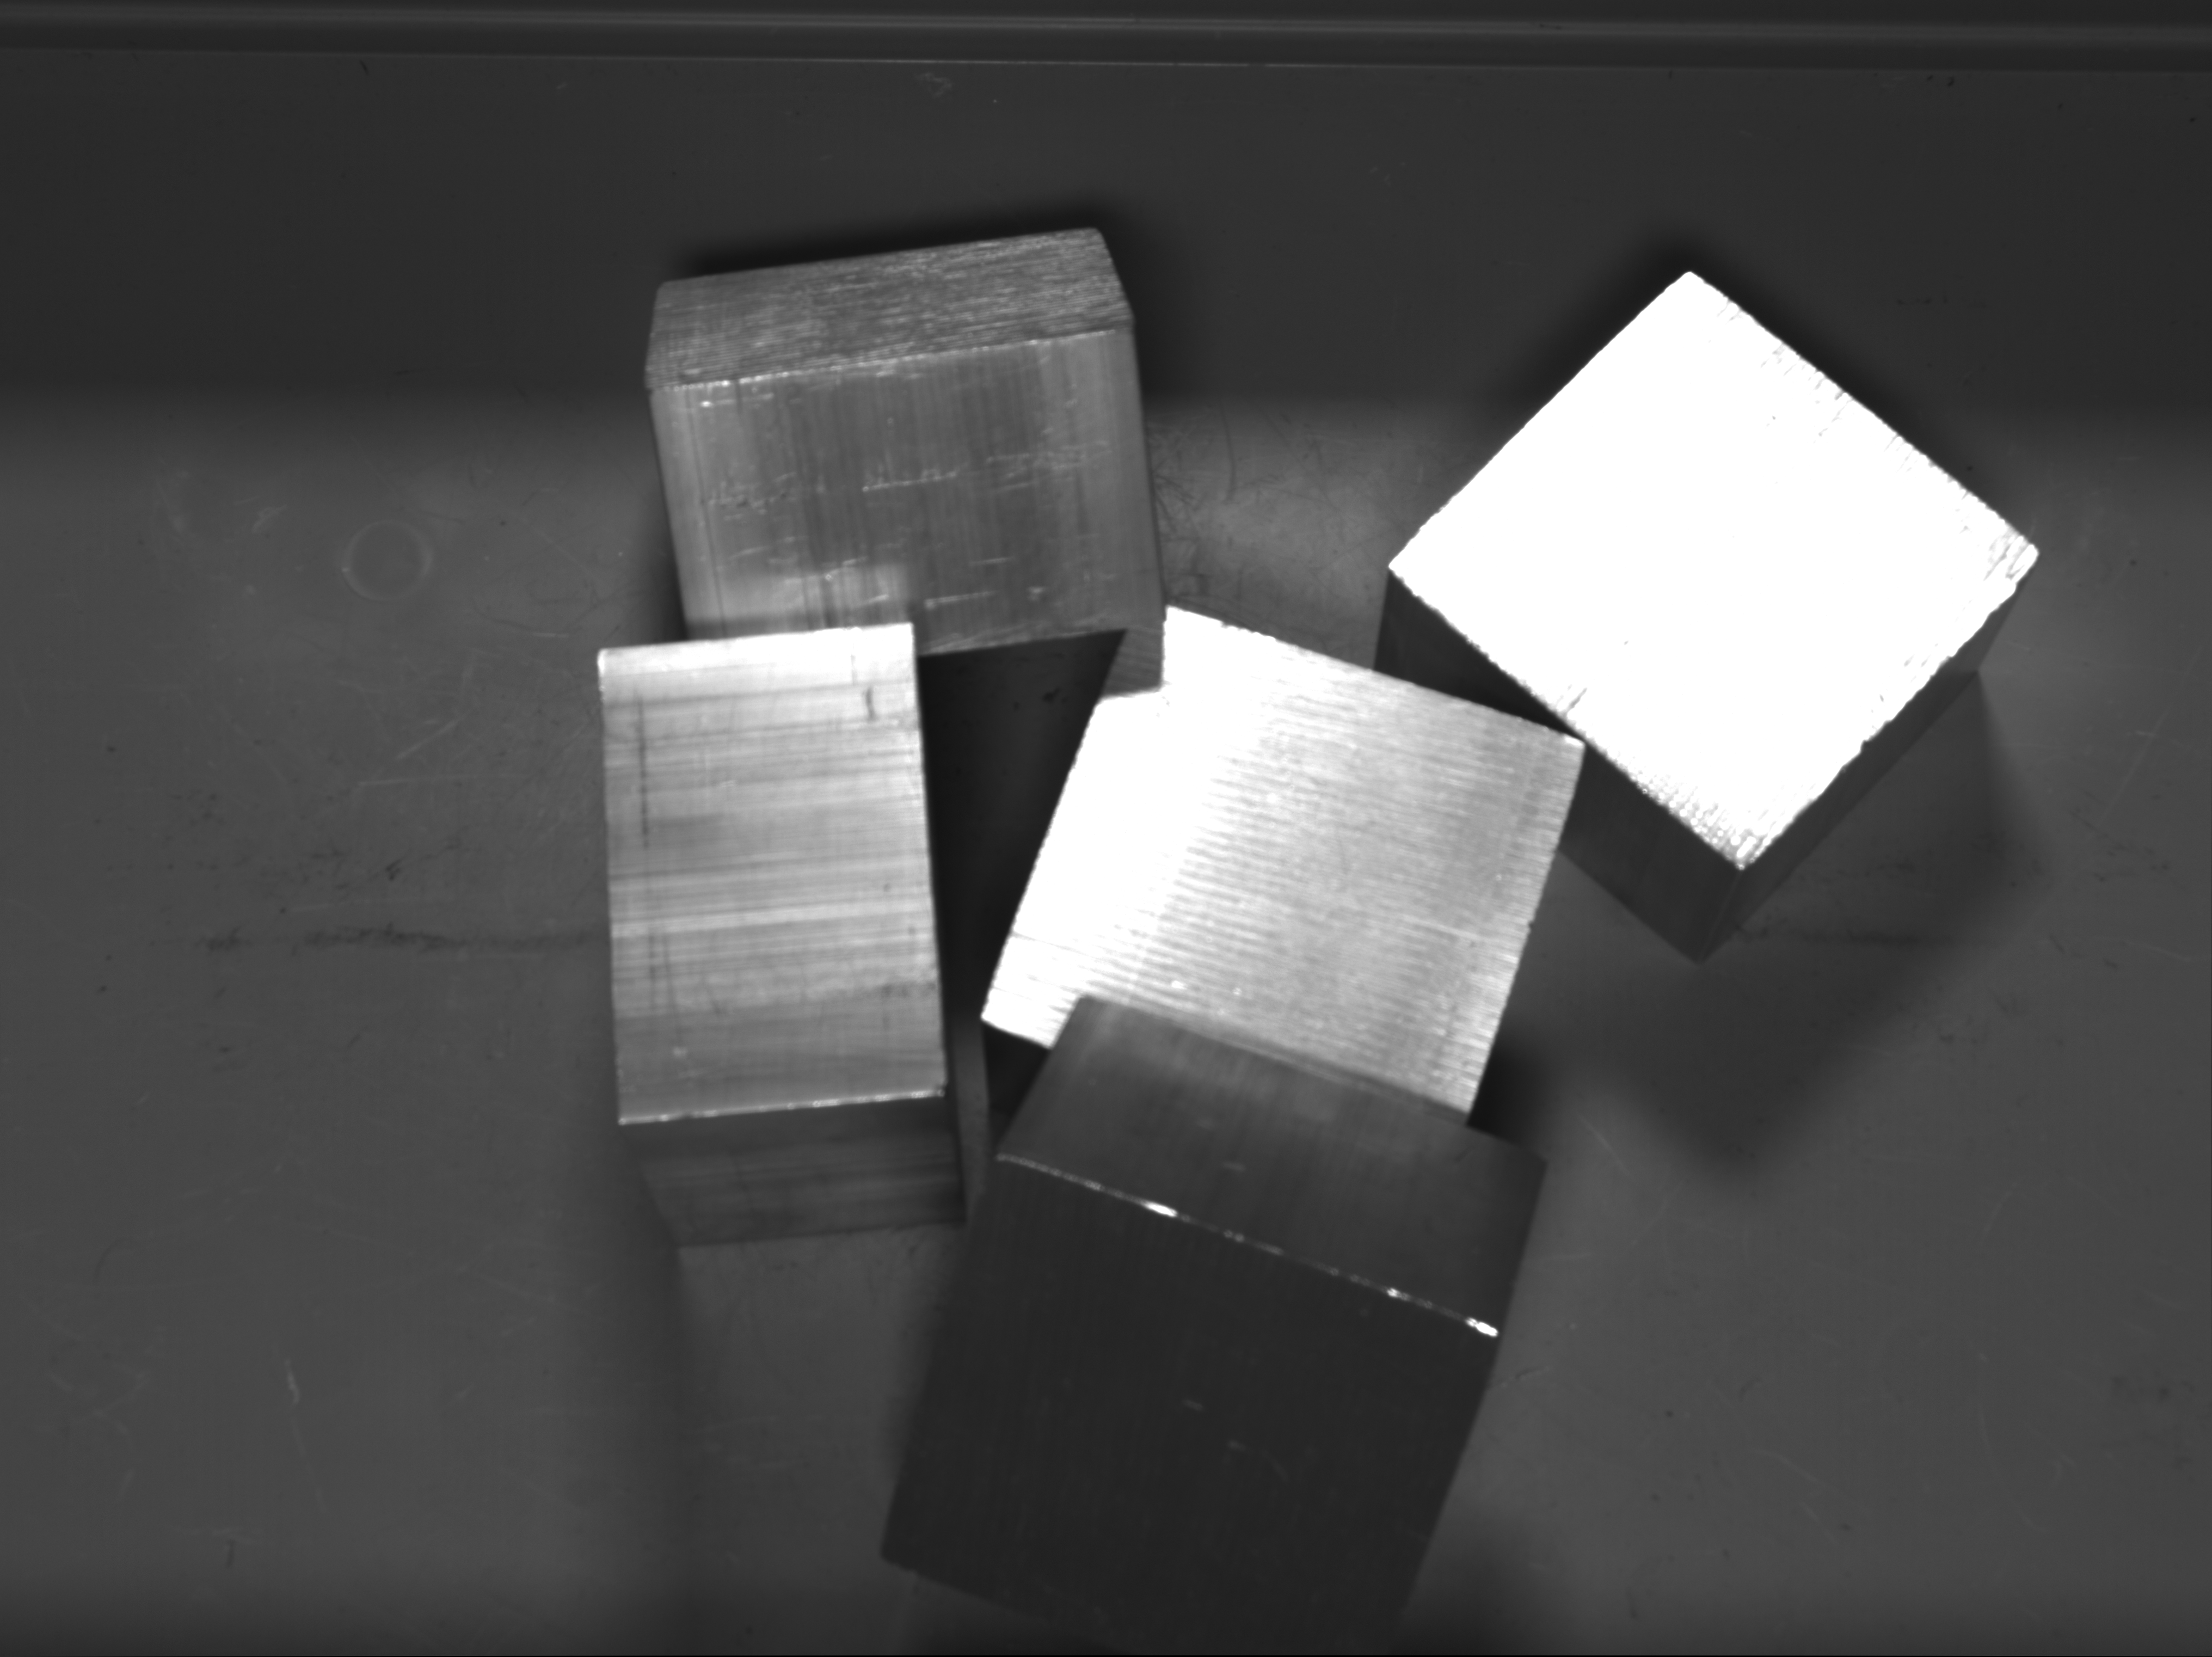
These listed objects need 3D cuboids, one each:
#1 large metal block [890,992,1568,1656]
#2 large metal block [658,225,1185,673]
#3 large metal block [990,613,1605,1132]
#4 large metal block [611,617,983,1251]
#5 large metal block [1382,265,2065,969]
[{"bbox_3d":[0.019,0.084,0.577,0.080,0.080,0.050,19,29,6],"label":"large metal block"},{"bbox_3d":[-0.032,-0.067,0.633,0.080,0.080,0.050,-7,112,-2],"label":"large metal block"},{"bbox_3d":[0.032,0.018,0.625,0.080,0.050,0.080,18,71,7],"label":"large metal block"},{"bbox_3d":[-0.050,0.020,0.608,0.050,0.080,0.080,-5,70,-2],"label":"large metal block"},{"bbox_3d":[0.106,-0.037,0.644,0.080,0.050,0.080,42,75,14],"label":"large metal block"}]
